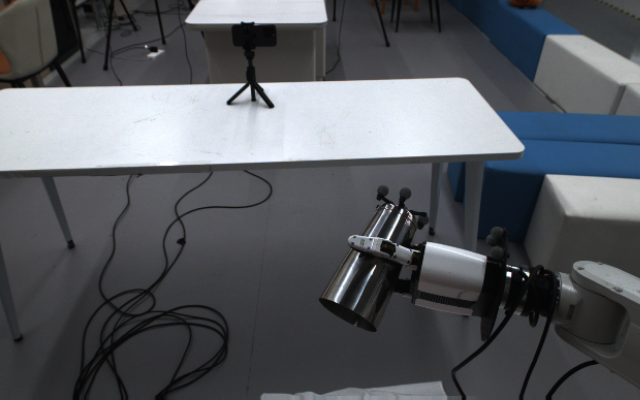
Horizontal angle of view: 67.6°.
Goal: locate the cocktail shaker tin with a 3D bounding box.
[{"bbox_3d":[0.080,0.088,0.700,0.093,0.093,0.170,20,67,24],"label":"cocktail shaker tin"}]
